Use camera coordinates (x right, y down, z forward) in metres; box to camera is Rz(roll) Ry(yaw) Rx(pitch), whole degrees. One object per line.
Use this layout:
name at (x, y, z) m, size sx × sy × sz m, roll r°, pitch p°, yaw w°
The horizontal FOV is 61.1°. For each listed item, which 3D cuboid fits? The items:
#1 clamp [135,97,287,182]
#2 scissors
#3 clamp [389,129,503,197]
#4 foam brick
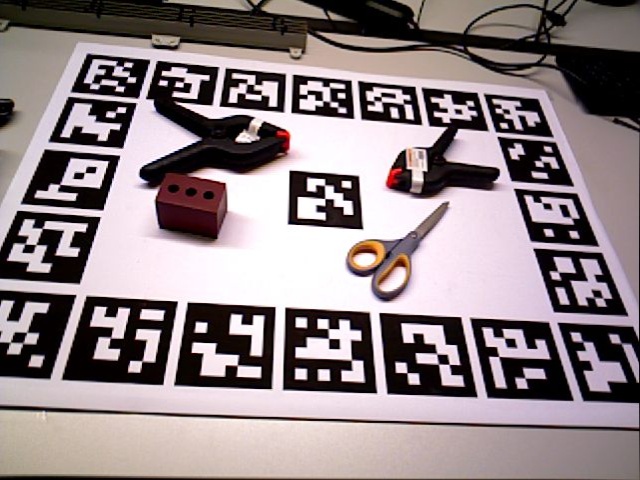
clamp at (-0.148, -0.141, 0.765) m, size 0.201 × 0.037 × 0.163 m, roll 1°, pitch 51°, yaw -9°
scissors at (0.113, 0.006, 0.705) m, size 0.087 × 0.016 × 0.198 m, roll 41°, pitch 57°, yaw 11°
clamp at (0.173, -0.106, 0.793) m, size 0.162 × 0.037 × 0.121 m, roll -20°, pitch 66°, yaw -21°
foam brick at (-0.163, -0.037, 0.680) m, size 0.078 × 0.052 × 0.052 m, roll 8°, pitch 54°, yaw 3°
